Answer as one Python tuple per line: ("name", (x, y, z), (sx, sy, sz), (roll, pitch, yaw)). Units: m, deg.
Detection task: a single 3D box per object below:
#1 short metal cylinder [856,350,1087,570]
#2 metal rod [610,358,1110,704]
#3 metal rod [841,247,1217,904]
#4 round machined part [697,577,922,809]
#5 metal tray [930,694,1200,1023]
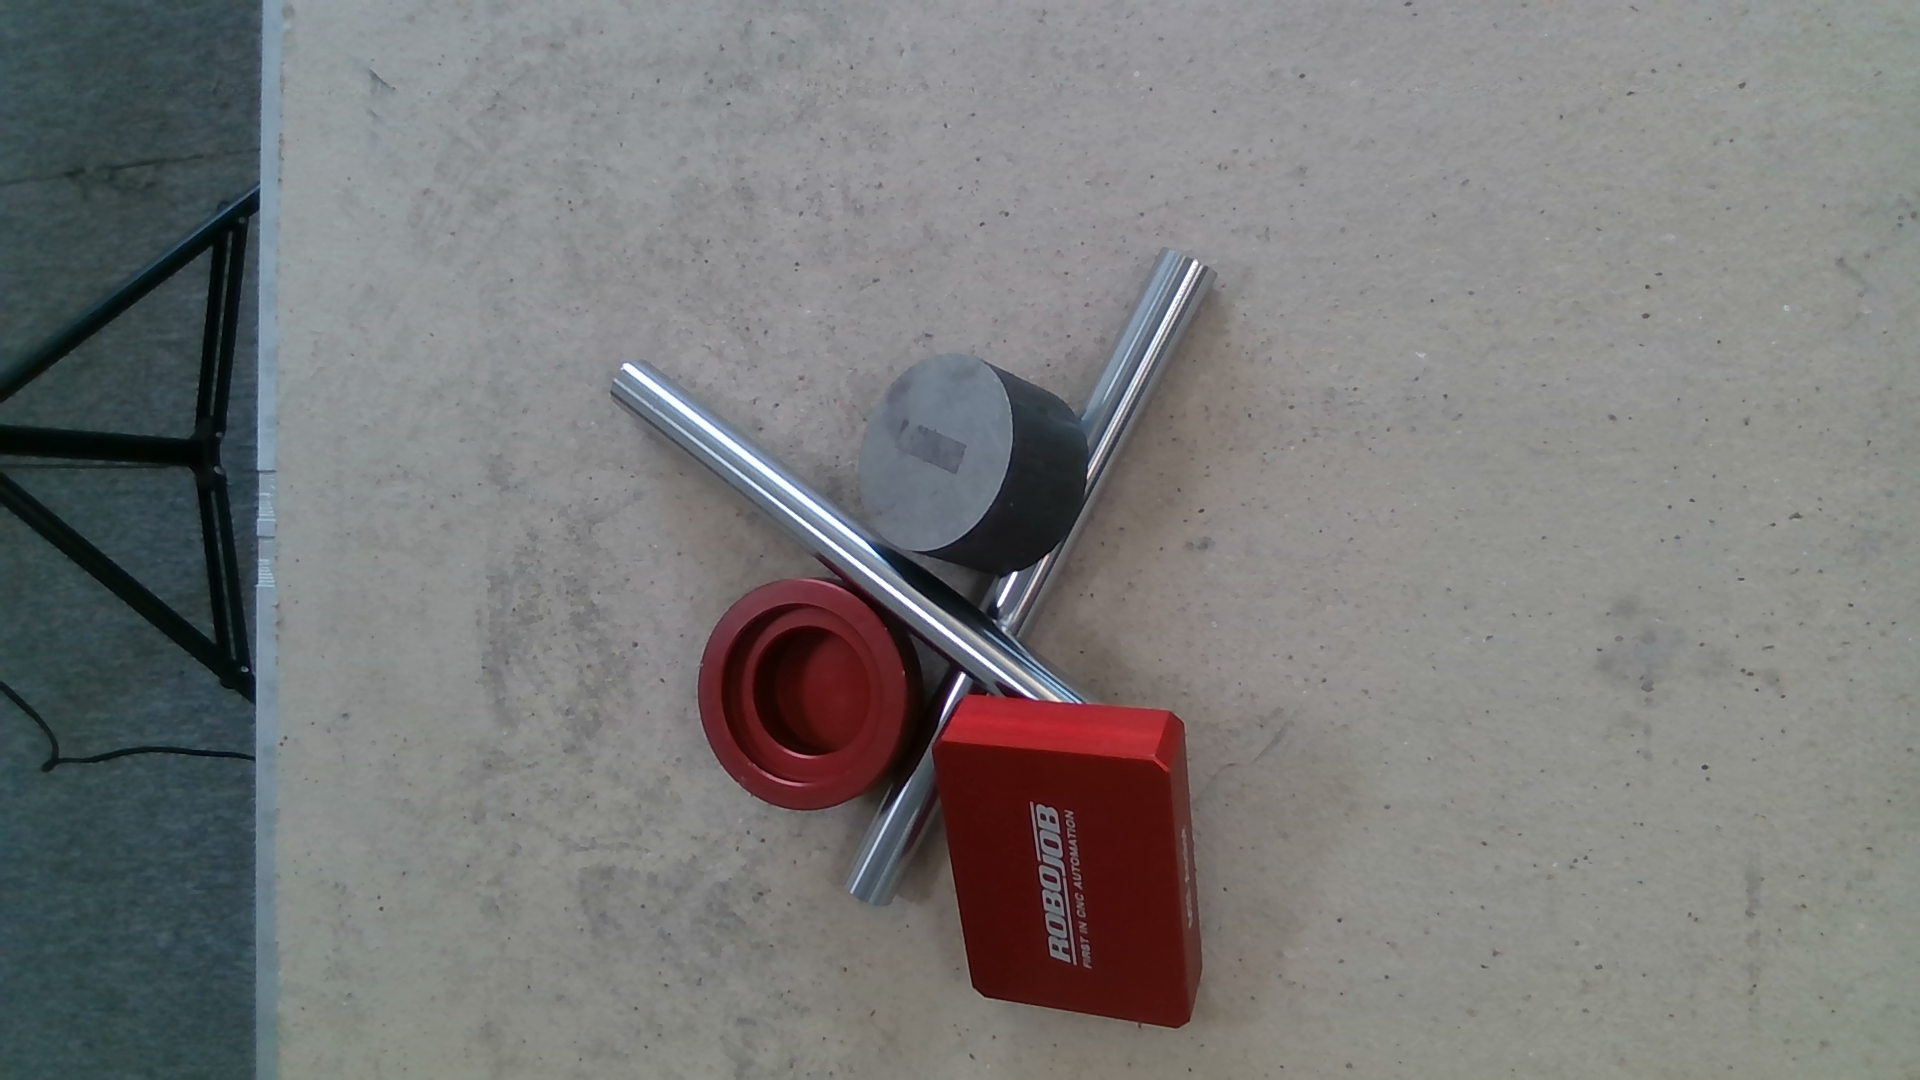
("short metal cylinder", (0.004, -0.031, 0.557), (0.080, 0.050, 0.080), (-12, 71, 38))
("metal rod", (-0.042, 0.007, 0.583), (0.300, 0.025, 0.025), (36, 102, 23))
("metal rod", (0.026, 0.020, 0.578), (0.025, 0.025, 0.300), (30, 100, 18))
("round machined part", (-0.061, 0.065, 0.600), (0.098, 0.042, 0.098), (0, 91, 20))
("metal tray", (0.043, 0.125, 0.539), (0.090, 0.030, 0.130), (2, 119, 20))
